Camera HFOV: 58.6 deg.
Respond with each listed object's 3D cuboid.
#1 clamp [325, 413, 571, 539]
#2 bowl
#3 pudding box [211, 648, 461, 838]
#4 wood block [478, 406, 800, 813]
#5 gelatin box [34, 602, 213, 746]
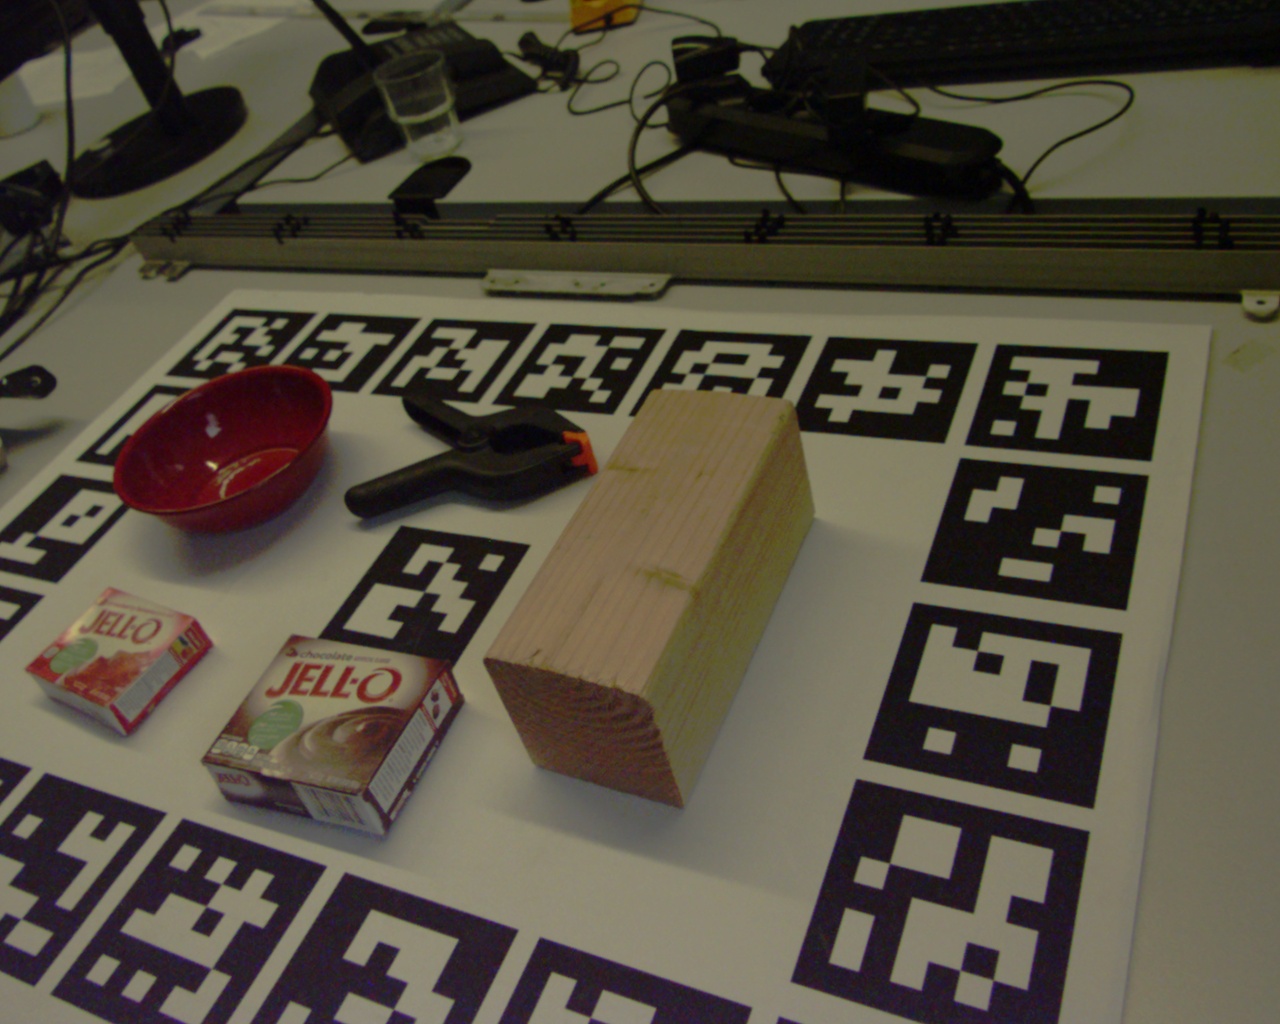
[{"bbox_3d":[-0.130,-0.029,0.808,0.166,0.036,0.122,-1,45,17],"label":"clamp"},{"bbox_3d":[-0.294,-0.024,0.847,0.162,0.055,0.162,-10,45,10],"label":"bowl"},{"bbox_3d":[-0.170,0.128,0.644,0.115,0.038,0.090,4,51,27],"label":"pudding box"},{"bbox_3d":[0.010,0.045,0.626,0.091,0.090,0.205,9,49,26],"label":"wood block"},{"bbox_3d":[-0.334,0.102,0.736,0.090,0.030,0.073,13,53,31],"label":"gelatin box"}]
